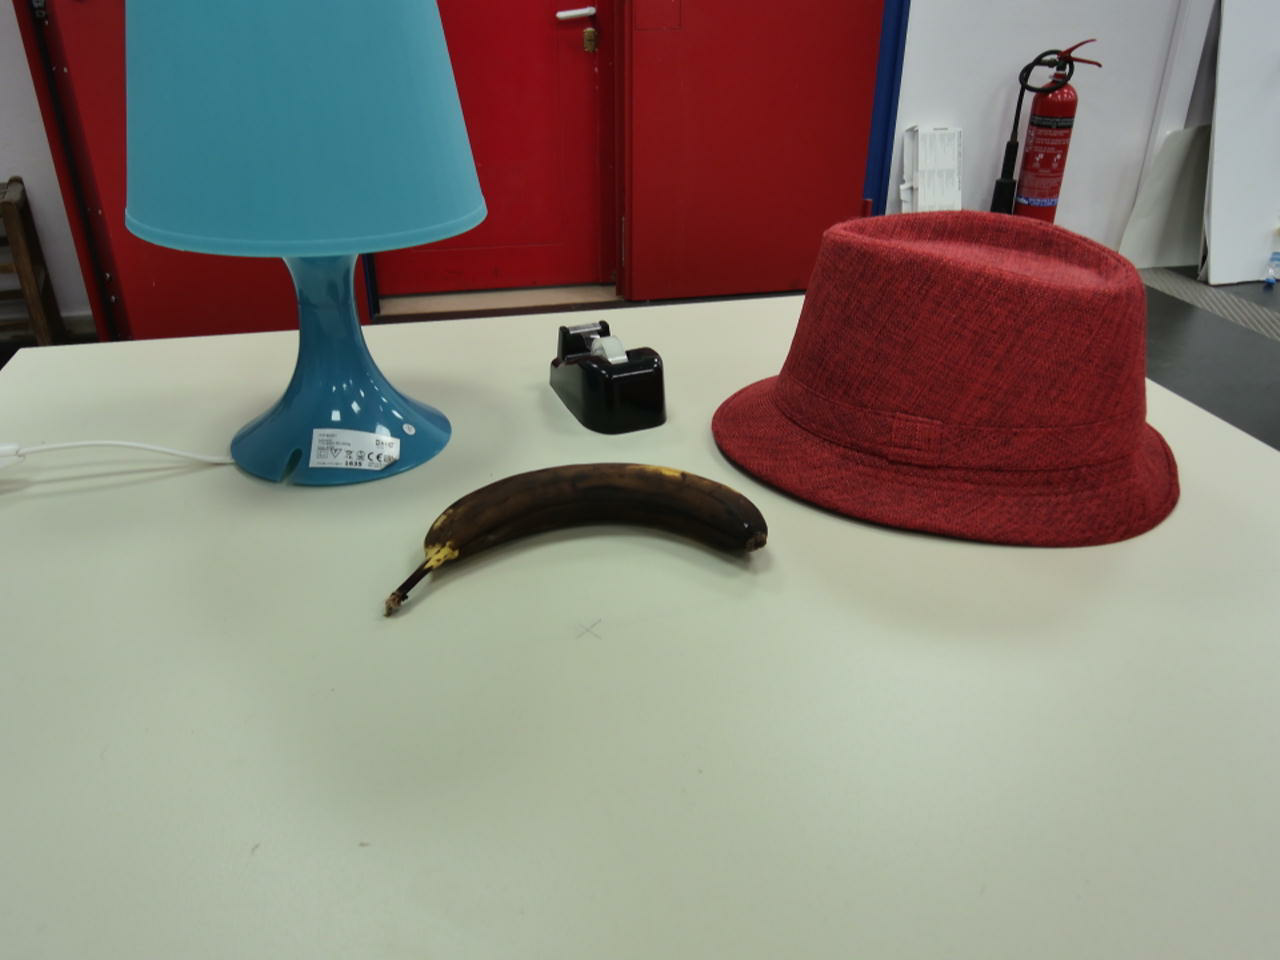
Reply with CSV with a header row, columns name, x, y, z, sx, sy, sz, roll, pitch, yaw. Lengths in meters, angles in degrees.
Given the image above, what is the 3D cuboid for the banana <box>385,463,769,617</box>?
name,x,y,z,sx,sy,sz,roll,pitch,yaw
banana,-0.034,0.019,0.512,0.188,0.034,0.091,-5,26,-11
